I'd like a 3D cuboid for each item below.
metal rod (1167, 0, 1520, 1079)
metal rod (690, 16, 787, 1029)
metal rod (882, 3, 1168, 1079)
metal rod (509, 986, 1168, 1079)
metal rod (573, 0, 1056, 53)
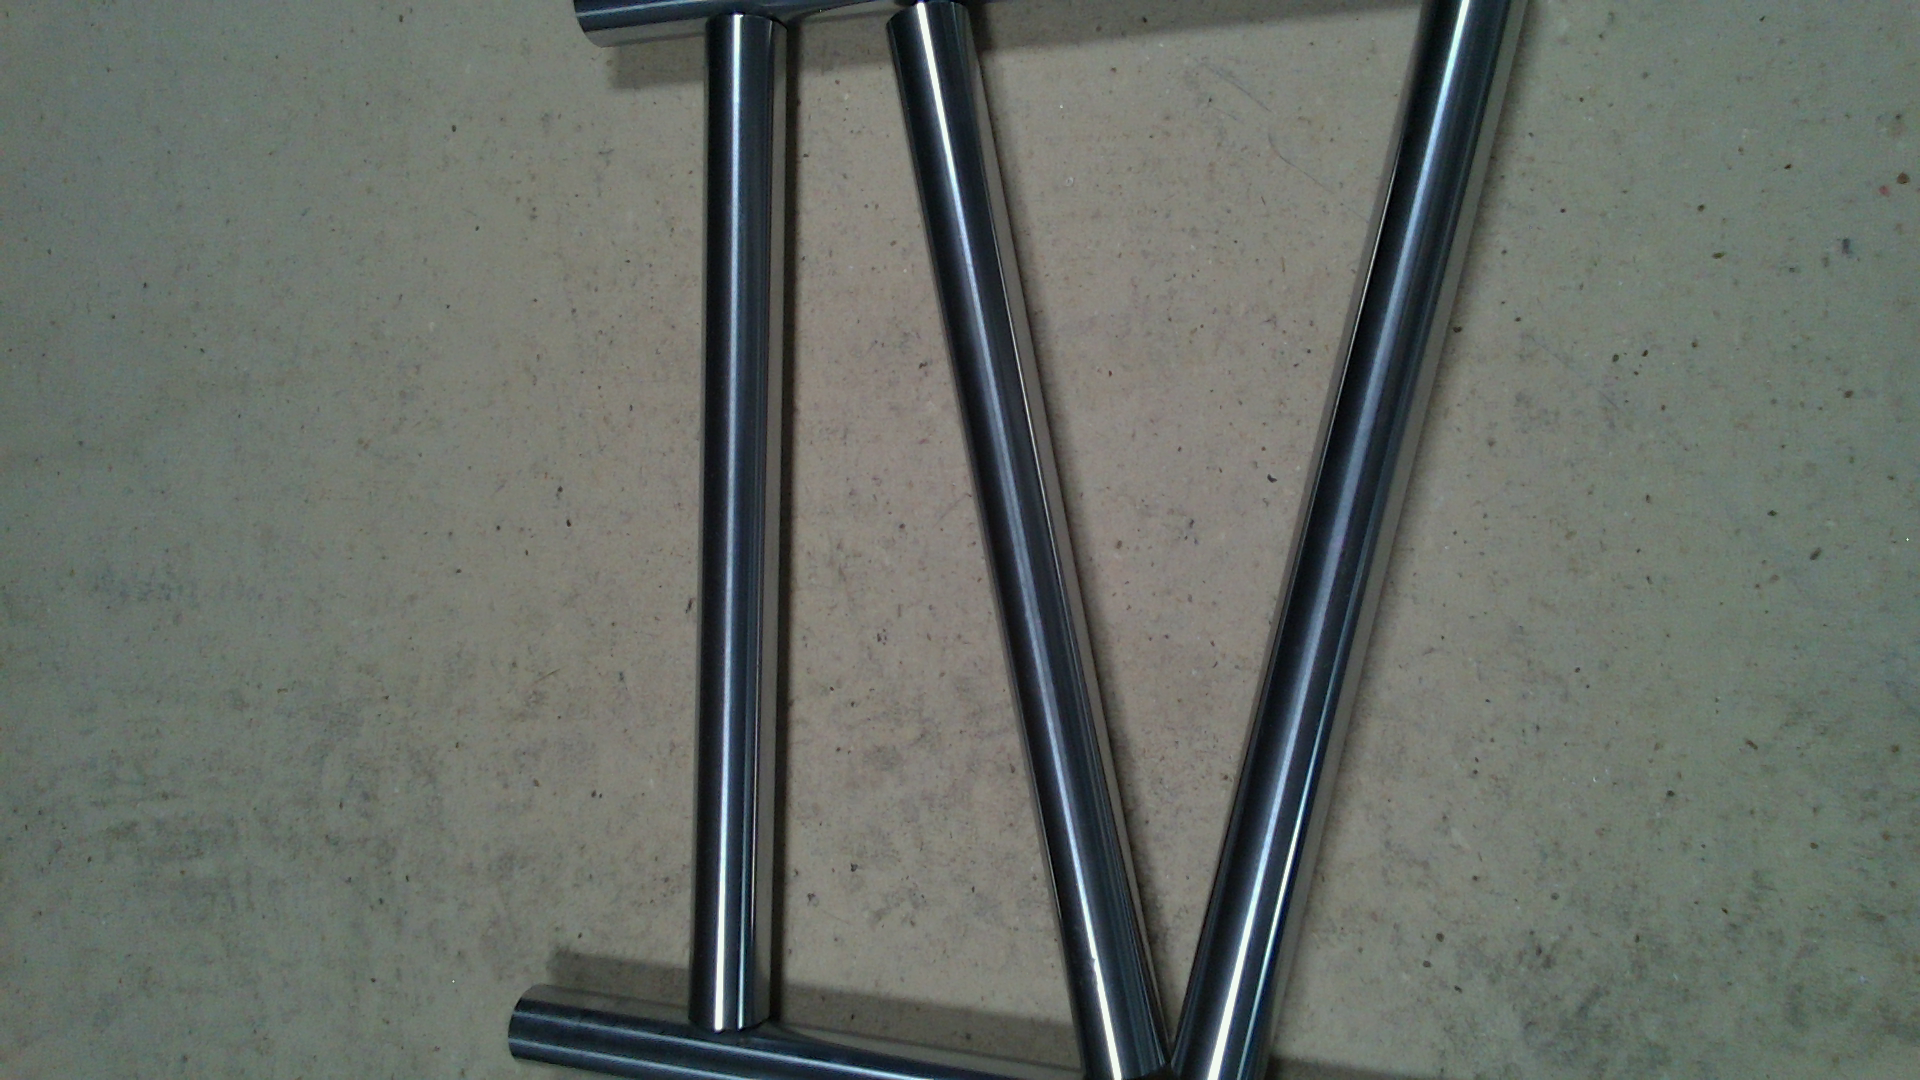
[{"bbox_3d":[0.100,-0.002,0.359,0.025,0.025,0.300,14,95,19],"label":"metal rod"},{"bbox_3d":[-0.068,-0.005,0.420,0.025,0.025,0.300,1,90,20],"label":"metal rod"},{"bbox_3d":[0.018,-0.003,0.389,0.025,0.025,0.300,-12,86,20],"label":"metal rod"},{"bbox_3d":[0.003,0.159,0.394,0.299,0.025,0.025,1,90,20],"label":"metal rod"},{"bbox_3d":[0.025,-0.165,0.386,0.299,0.025,0.025,1,90,20],"label":"metal rod"}]
